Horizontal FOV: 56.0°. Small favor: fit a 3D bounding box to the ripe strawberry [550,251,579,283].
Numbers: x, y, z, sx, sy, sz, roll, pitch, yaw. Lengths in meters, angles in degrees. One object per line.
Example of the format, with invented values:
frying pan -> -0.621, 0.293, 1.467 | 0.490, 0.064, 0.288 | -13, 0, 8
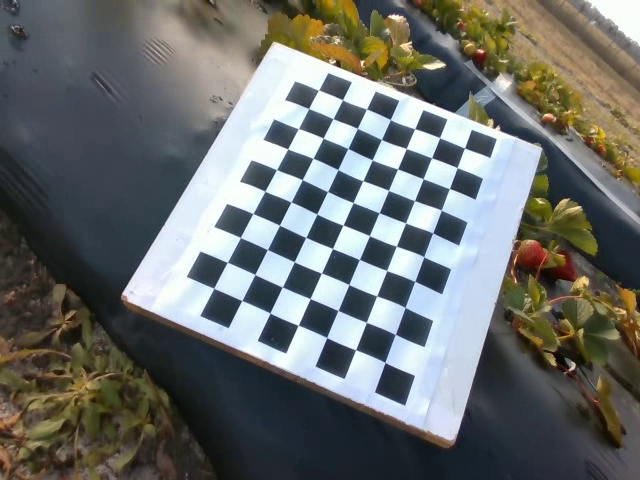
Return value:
ripe strawberry -> 0.363, 0.041, 0.891 | 0.048, 0.065, 0.050 | -23, -25, -15
